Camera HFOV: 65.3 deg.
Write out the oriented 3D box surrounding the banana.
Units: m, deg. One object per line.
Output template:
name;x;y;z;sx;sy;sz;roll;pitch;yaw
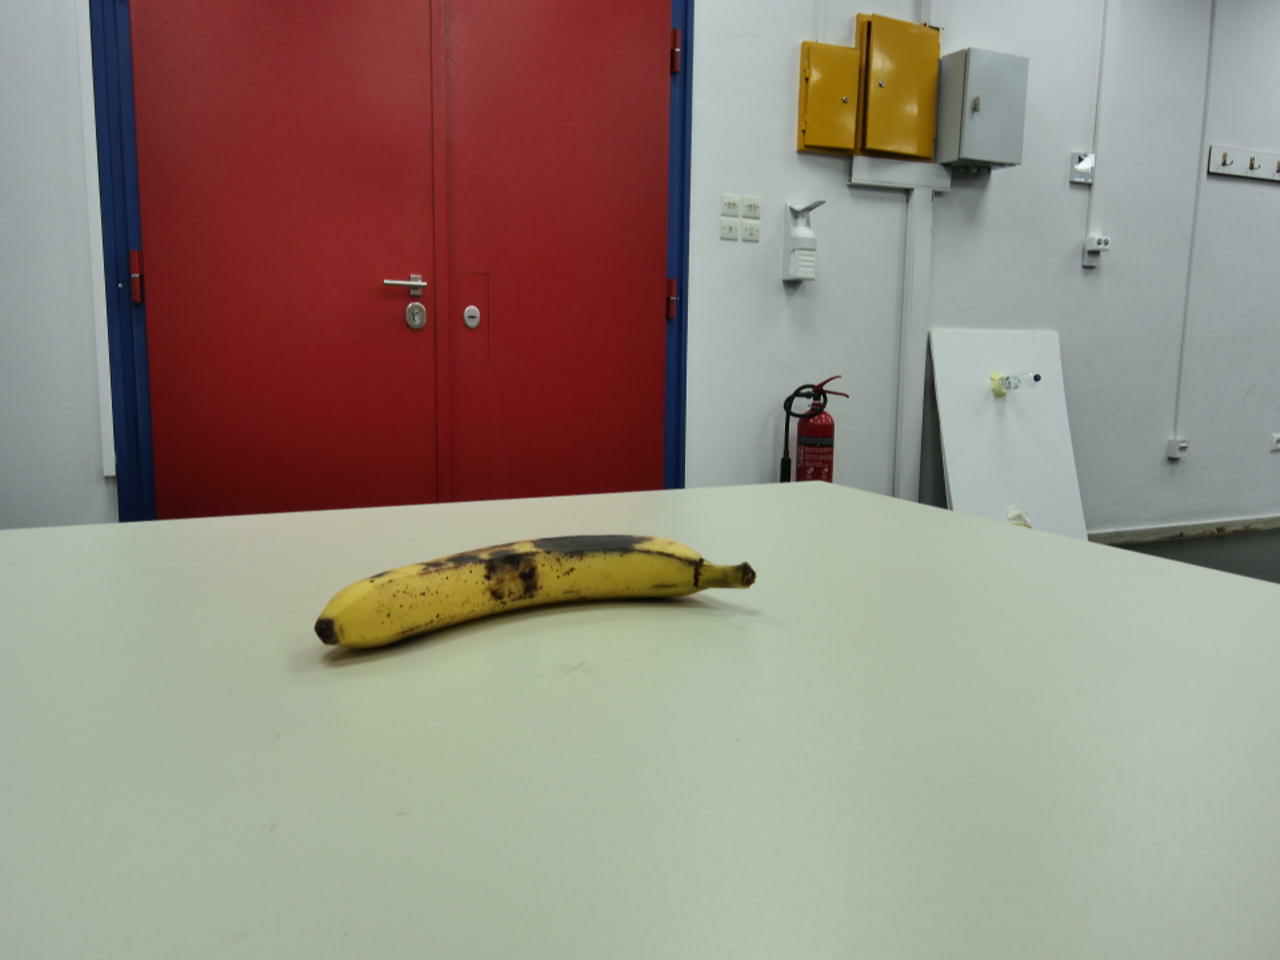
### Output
banana;-0.055;0.053;0.510;0.222;0.037;0.084;-3;7;-25
